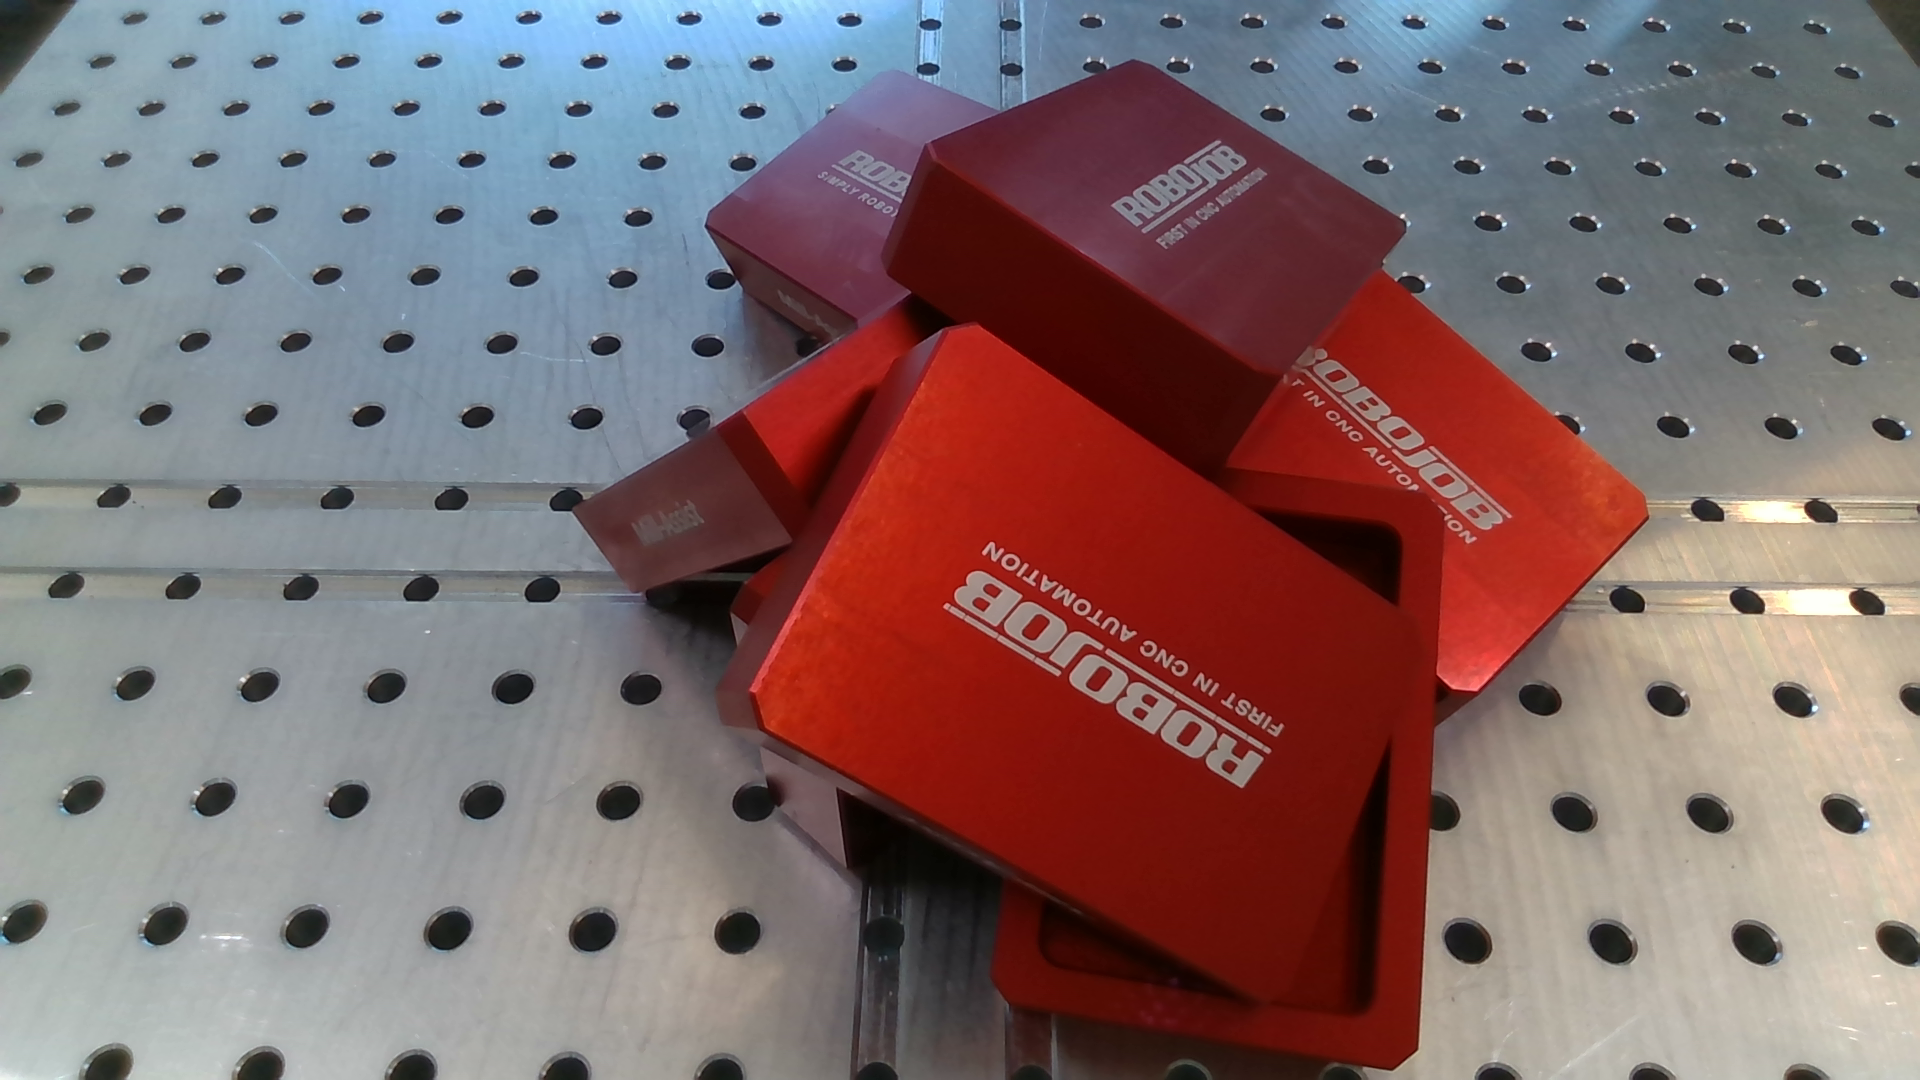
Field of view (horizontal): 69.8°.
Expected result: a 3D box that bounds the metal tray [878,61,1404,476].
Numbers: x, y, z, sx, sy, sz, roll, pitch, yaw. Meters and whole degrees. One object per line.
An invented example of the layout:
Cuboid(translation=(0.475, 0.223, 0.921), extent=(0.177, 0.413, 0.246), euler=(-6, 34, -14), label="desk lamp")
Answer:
Cuboid(translation=(0.051, -0.074, 0.340), extent=(0.090, 0.030, 0.130), euler=(35, 37, 10), label="metal tray")

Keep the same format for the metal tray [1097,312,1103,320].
Cuboid(translation=(0.047, -0.069, 0.450), extent=(0.130, 0.030, 0.090), euler=(32, 57, 23), label="metal tray")

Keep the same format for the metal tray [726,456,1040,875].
Cuboid(translation=(0.006, 0.014, 0.344), extent=(0.030, 0.090, 0.130), euler=(37, 58, 27), label="metal tray")

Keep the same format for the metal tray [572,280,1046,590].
Cuboid(translation=(-0.043, -0.030, 0.361), extent=(0.090, 0.130, 0.030), euler=(-40, 102, -27), label="metal tray")

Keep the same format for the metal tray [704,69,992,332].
Cuboid(translation=(-0.013, -0.100, 0.448), extent=(0.090, 0.030, 0.130), euler=(-43, 49, -12), label="metal tray")

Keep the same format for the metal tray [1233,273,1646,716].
Cuboid(translation=(0.113, -0.023, 0.388), extent=(0.090, 0.030, 0.130), euler=(-37, 73, -24), label="metal tray")

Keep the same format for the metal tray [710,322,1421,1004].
Cuboid(translation=(0.026, 0.027, 0.288), extent=(0.130, 0.030, 0.090), euler=(32, 74, -17), label="metal tray")

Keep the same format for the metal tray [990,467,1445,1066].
Cuboid(translation=(0.061, 0.048, 0.324), extent=(0.090, 0.030, 0.130), euler=(8, 71, 6), label="metal tray")
